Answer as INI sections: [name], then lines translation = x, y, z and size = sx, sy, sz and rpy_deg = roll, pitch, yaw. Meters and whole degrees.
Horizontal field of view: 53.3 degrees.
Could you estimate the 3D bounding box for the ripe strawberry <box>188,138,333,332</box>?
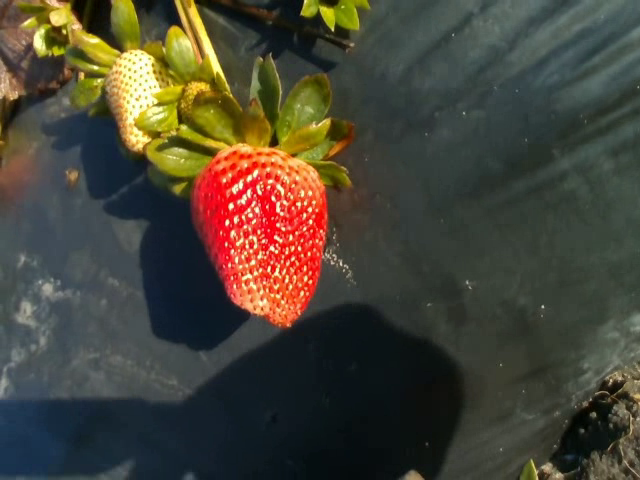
[ripe strawberry]
translation = -0.015, 0.001, 0.175
size = 0.042, 0.059, 0.042
rpy_deg = -20, -21, 13
